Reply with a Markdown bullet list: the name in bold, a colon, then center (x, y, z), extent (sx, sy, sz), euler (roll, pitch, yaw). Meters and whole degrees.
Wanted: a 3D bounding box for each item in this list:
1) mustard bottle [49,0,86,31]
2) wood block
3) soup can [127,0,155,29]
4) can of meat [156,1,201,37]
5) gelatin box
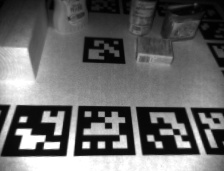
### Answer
- **mustard bottle**: center (-0.114, -0.232, 0.531), extent (0.097, 0.192, 0.058), euler (-19, 53, -21)
- **wood block**: center (-0.212, -0.123, 0.490), extent (0.091, 0.090, 0.205), euler (3, 46, -4)
- **soup can**: center (0.078, -0.213, 0.576), extent (0.068, 0.102, 0.067), euler (2, 51, -2)
- **can of meat**: center (0.175, -0.182, 0.584), extent (0.102, 0.084, 0.057), euler (-9, 52, -15)
- **gelatin box**: center (0.099, -0.098, 0.534), extent (0.089, 0.030, 0.073), euler (8, 51, 4)
